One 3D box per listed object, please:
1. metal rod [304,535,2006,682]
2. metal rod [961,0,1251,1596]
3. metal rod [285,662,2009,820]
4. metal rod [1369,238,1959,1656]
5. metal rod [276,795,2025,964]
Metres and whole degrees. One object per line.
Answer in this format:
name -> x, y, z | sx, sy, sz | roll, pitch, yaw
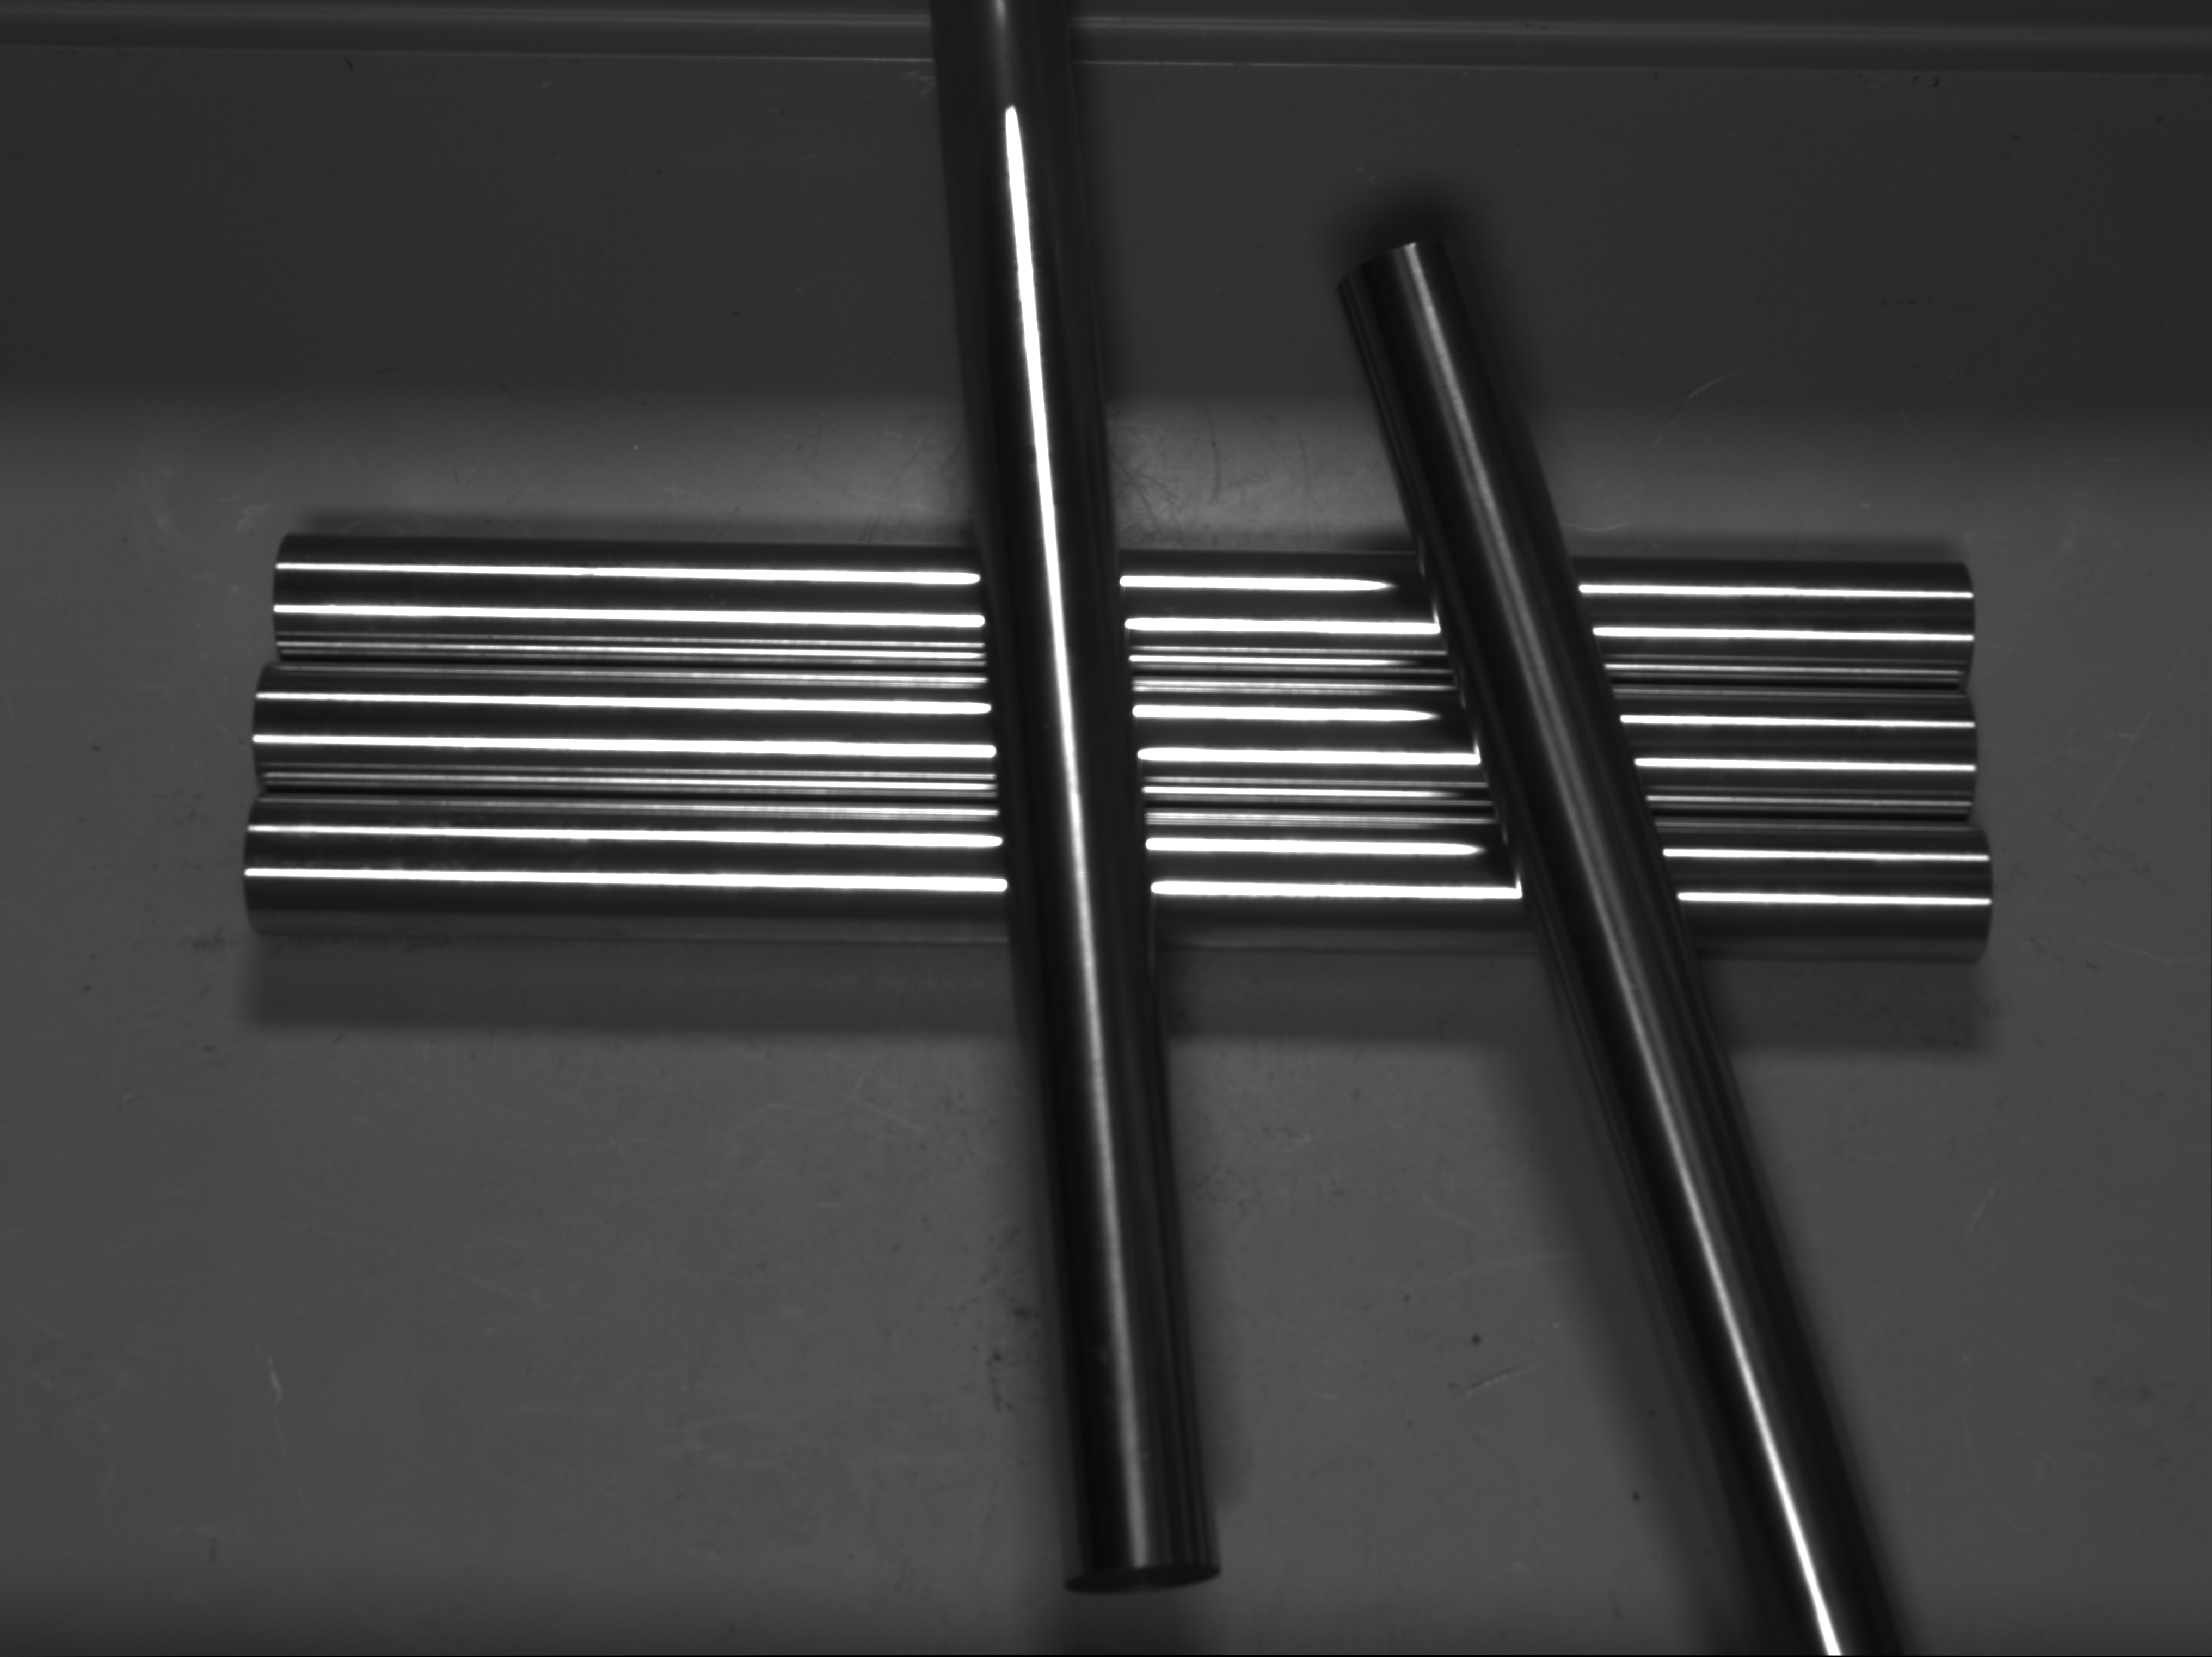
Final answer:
metal rod -> 0.009, -0.038, 0.658 | 0.300, 0.025, 0.025 | 1, 70, 0
metal rod -> -0.002, -0.022, 0.625 | 0.025, 0.025, 0.300 | -5, 70, -2
metal rod -> 0.007, -0.015, 0.649 | 0.300, 0.025, 0.025 | 1, 70, 0
metal rod -> 0.098, 0.043, 0.607 | 0.025, 0.025, 0.300 | -15, 77, -5
metal rod -> 0.008, 0.009, 0.641 | 0.300, 0.025, 0.025 | 1, 70, 0
